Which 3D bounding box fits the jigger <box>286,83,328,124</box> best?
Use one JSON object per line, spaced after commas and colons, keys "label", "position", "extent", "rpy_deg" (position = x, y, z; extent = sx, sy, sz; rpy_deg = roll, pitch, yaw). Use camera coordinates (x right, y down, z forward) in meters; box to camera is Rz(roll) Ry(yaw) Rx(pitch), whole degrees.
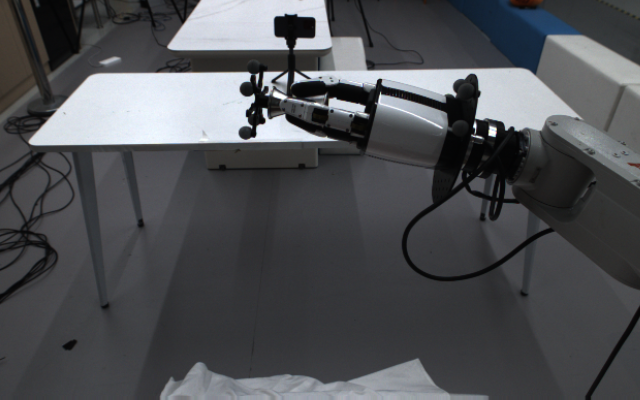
{"label": "jigger", "position": [-0.019, -0.116, 0.591], "extent": [0.071, 0.043, 0.043], "rpy_deg": [8, 35, 4]}
